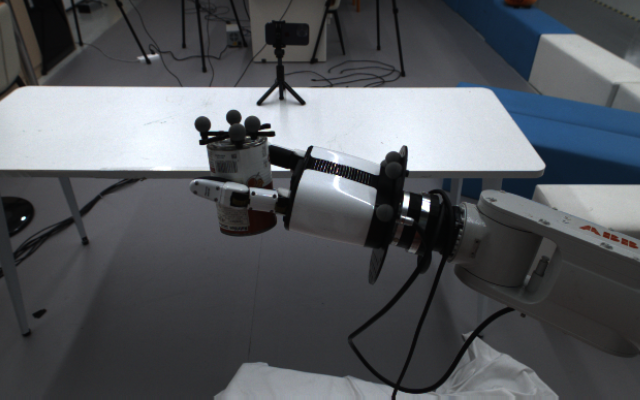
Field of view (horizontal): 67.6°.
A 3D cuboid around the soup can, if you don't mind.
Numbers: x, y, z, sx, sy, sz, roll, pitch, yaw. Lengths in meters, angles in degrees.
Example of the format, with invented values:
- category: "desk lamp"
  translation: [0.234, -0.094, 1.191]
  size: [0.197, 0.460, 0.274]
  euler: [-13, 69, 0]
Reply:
- category: "soup can"
  translation: [-0.084, -0.019, 0.541]
  size: [0.067, 0.101, 0.067]
  euler: [-4, 21, 2]
